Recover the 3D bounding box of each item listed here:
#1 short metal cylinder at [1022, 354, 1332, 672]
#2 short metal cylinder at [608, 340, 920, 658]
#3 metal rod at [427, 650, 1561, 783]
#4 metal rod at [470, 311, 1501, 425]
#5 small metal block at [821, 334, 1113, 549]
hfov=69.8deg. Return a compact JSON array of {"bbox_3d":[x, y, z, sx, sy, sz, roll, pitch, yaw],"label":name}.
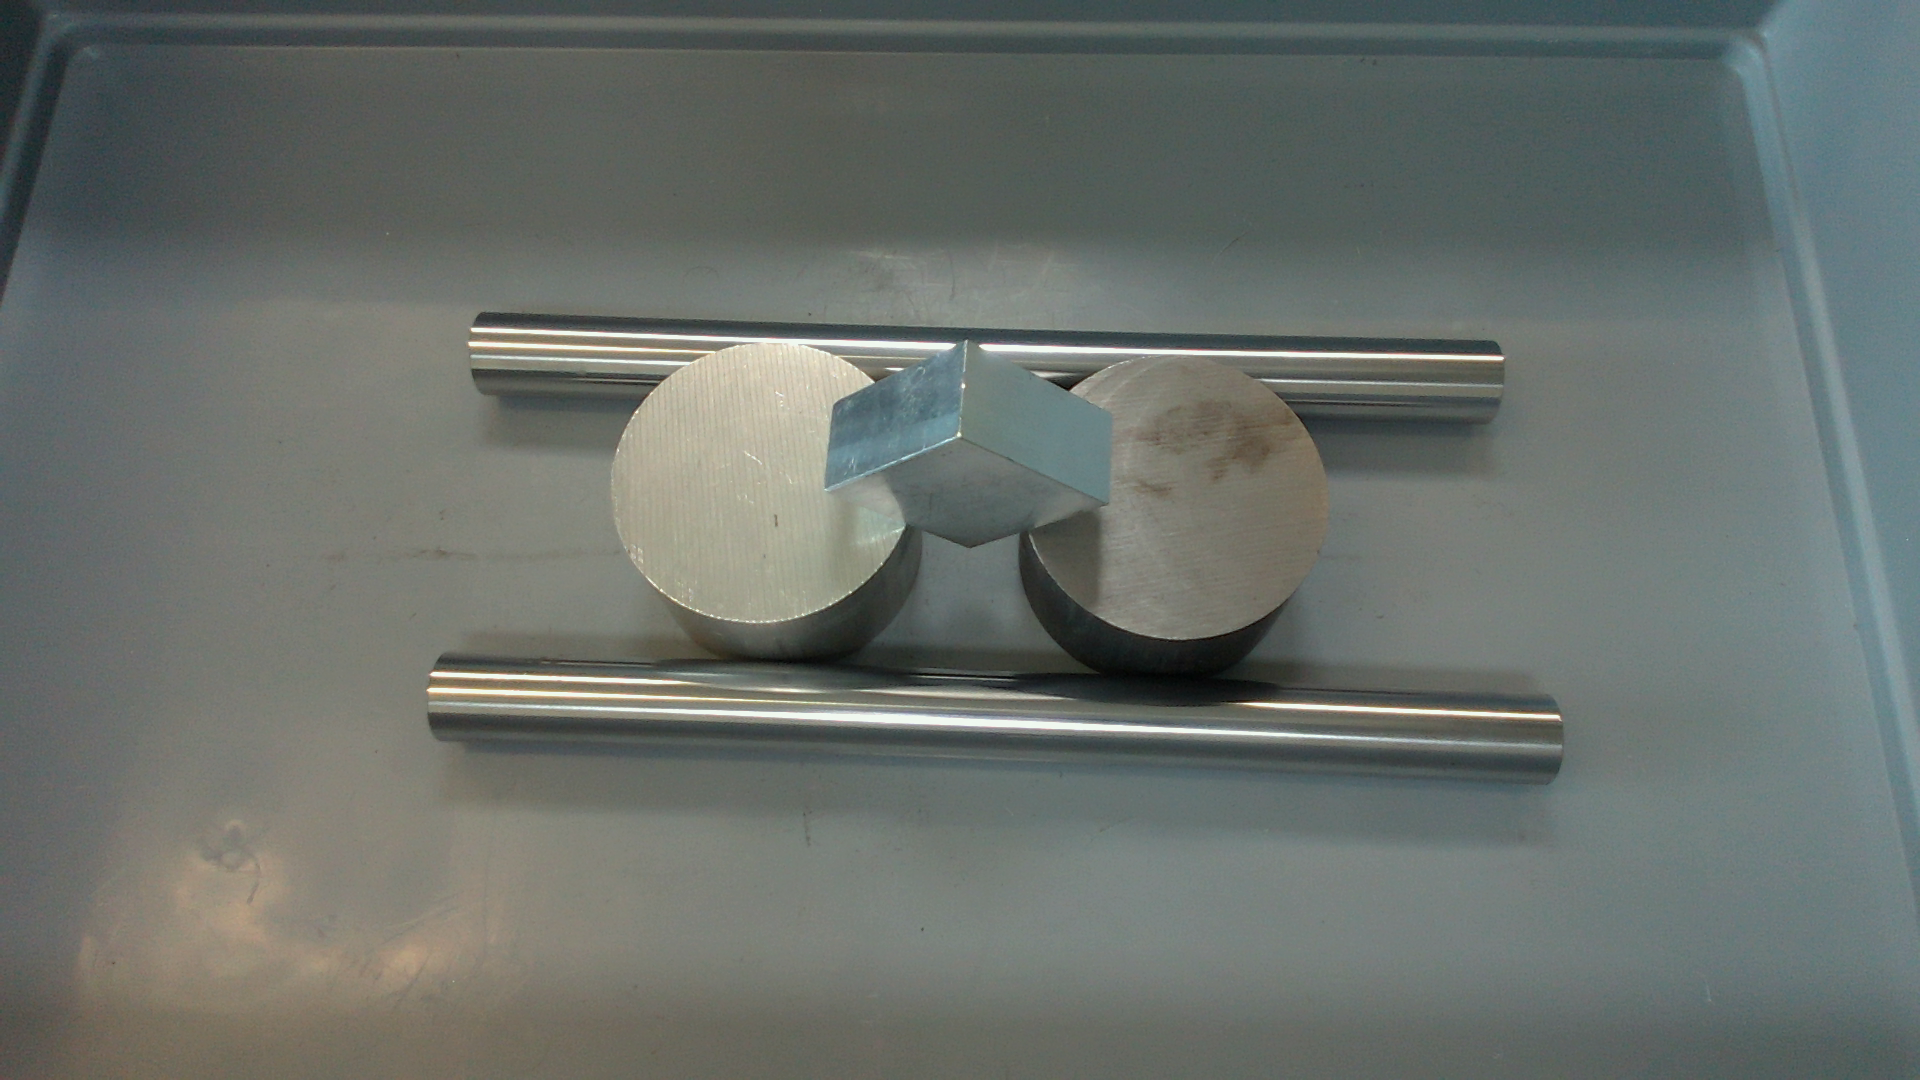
[{"bbox_3d":[0.057,-0.004,0.382,0.080,0.050,0.080,0,70,0],"label":"short metal cylinder"},{"bbox_3d":[-0.052,-0.008,0.383,0.080,0.050,0.080,0,70,0],"label":"short metal cylinder"},{"bbox_3d":[0.009,0.048,0.376,0.300,0.025,0.025,2,70,1],"label":"metal rod"},{"bbox_3d":[0.007,-0.052,0.412,0.300,0.025,0.025,2,70,0],"label":"metal rod"},{"bbox_3d":[0.002,-0.022,0.339,0.050,0.050,0.025,21,63,-38],"label":"small metal block"}]
